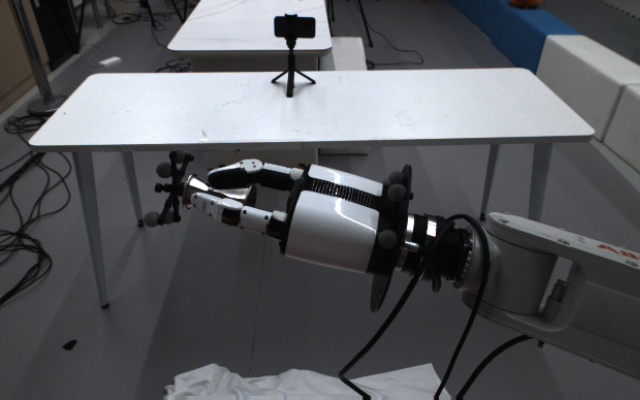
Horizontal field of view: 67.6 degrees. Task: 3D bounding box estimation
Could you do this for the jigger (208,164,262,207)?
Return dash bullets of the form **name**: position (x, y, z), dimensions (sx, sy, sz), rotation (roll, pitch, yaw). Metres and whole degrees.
- **jigger**: position (-0.100, -0.004, 0.517), dimensions (0.071, 0.043, 0.043), rotation (12, 36, 5)
